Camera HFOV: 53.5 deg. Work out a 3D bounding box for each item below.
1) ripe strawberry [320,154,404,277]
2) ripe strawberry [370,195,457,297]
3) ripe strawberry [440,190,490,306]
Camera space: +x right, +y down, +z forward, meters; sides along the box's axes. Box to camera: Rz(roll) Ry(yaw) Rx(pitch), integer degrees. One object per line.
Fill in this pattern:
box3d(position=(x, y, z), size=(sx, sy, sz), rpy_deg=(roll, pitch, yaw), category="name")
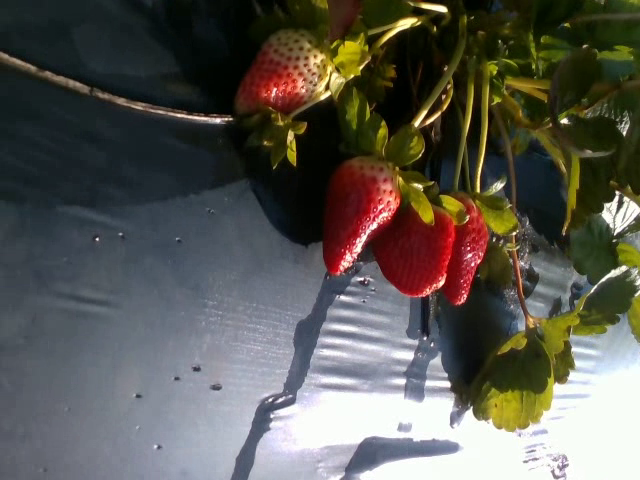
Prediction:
box3d(position=(0.014, -0.007, 0.218), size=(0.031, 0.046, 0.023), rpy_deg=(22, 3, -41), category="ripe strawberry")
box3d(position=(0.037, 0.003, 0.232), size=(0.036, 0.039, 0.030), rpy_deg=(-29, -41, 24), category="ripe strawberry")
box3d(position=(0.055, 0.009, 0.253), size=(0.035, 0.041, 0.033), rpy_deg=(17, -30, -40), category="ripe strawberry")
